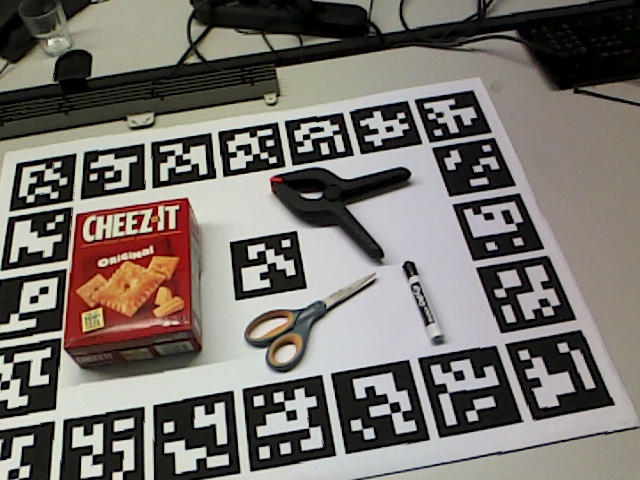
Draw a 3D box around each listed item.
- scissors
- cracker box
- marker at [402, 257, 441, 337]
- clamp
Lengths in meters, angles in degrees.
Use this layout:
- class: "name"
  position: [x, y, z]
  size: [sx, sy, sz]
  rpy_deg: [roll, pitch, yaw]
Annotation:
- class: "scissors"
  position: [-0.005, 0.094, 0.841]
  size: [0.202, 0.016, 0.088]
  rpy_deg: [-33, 57, -20]
- class: "cracker box"
  position: [-0.248, 0.052, 0.864]
  size: [0.164, 0.072, 0.214]
  rpy_deg: [-8, 54, 0]
- class: "marker"
  position: [0.137, 0.074, 0.840]
  size: [0.019, 0.019, 0.121]
  rpy_deg: [-12, 54, -3]
- class: "clamp"
  position: [0.017, -0.062, 0.956]
  size: [0.203, 0.036, 0.165]
  rpy_deg: [16, 57, 15]
